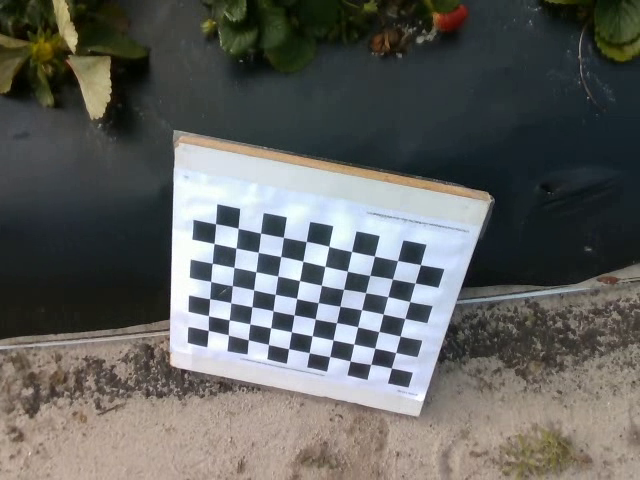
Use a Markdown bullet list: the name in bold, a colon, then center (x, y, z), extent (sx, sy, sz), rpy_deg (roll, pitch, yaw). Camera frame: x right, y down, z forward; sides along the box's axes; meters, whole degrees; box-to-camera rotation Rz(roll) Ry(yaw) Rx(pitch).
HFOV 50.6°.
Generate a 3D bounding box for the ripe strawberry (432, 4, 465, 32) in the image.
- **ripe strawberry**: center (0.076, -0.142, 0.413), extent (0.027, 0.021, 0.021), rpy_deg (-6, 40, 24)
